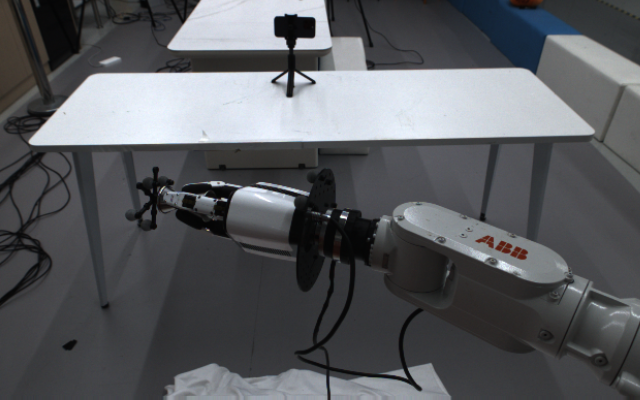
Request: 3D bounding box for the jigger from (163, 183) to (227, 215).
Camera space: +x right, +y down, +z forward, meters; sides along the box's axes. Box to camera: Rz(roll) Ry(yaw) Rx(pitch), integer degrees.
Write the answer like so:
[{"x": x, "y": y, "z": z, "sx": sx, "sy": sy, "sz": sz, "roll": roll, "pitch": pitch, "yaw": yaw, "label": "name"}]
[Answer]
[{"x": -0.176, "y": 0.000, "z": 0.661, "sx": 0.071, "sy": 0.043, "sz": 0.043, "roll": 7, "pitch": 35, "yaw": 14, "label": "jigger"}]
